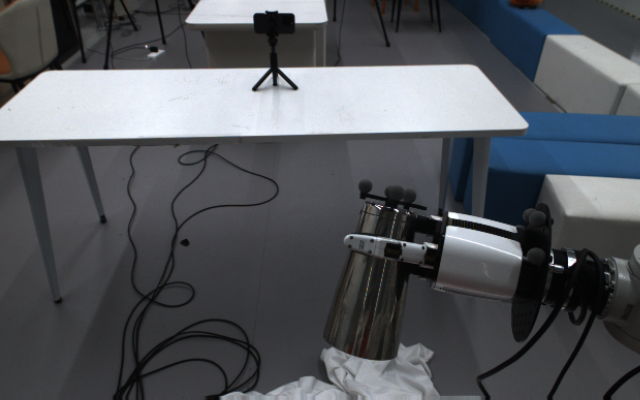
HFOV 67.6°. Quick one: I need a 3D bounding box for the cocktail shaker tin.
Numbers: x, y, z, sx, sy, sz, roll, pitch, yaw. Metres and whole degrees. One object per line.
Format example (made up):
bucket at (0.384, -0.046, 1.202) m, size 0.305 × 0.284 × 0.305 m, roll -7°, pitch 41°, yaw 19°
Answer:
cocktail shaker tin at (0.069, 0.089, 0.586) m, size 0.093 × 0.170 × 0.093 m, roll 12°, pitch 3°, yaw -1°
